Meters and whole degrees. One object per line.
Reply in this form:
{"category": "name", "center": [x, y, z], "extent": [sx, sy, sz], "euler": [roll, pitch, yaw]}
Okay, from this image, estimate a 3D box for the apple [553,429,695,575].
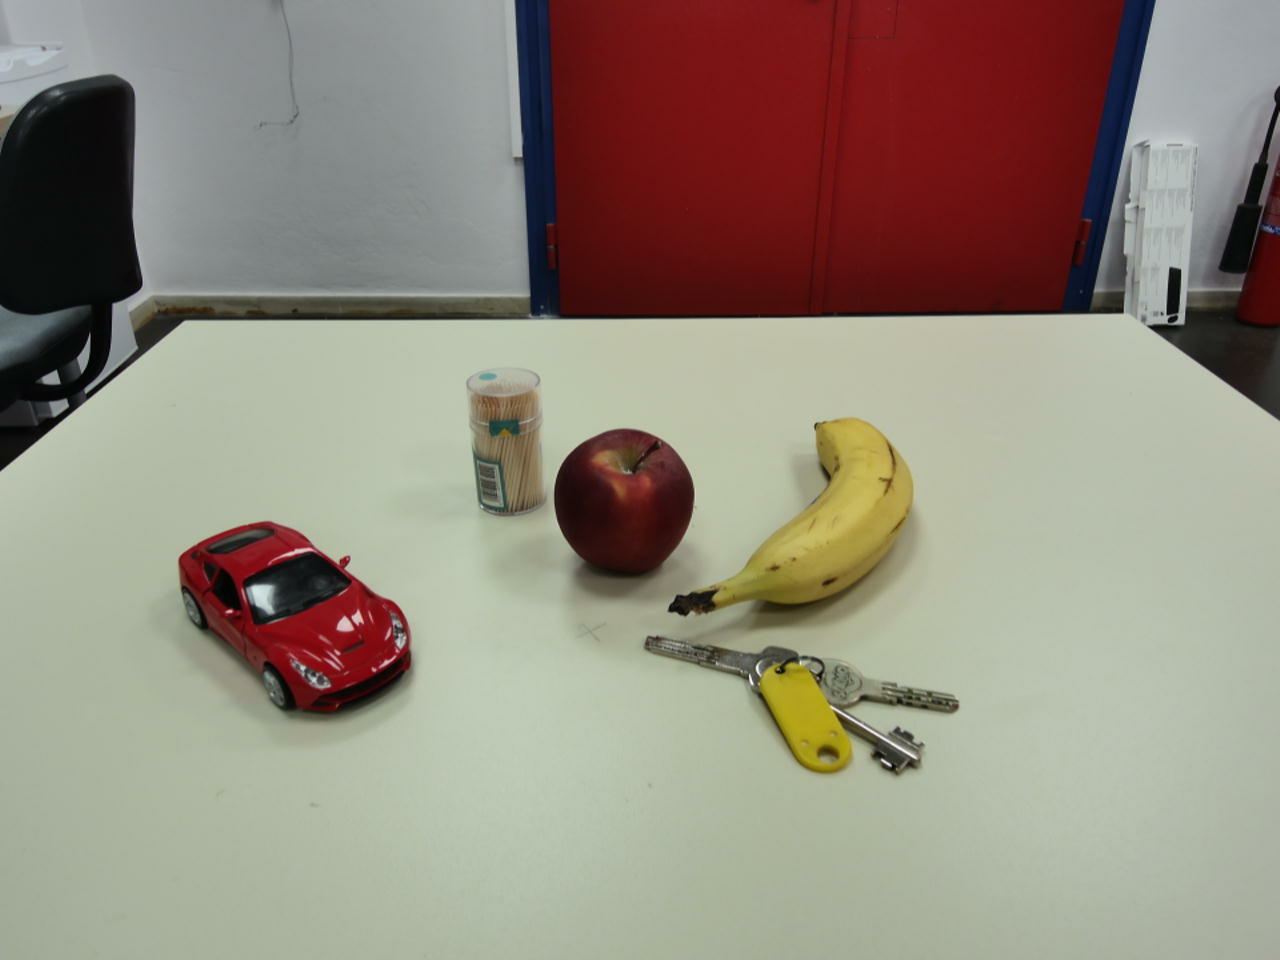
{"category": "apple", "center": [-0.008, 0.011, 0.492], "extent": [0.070, 0.072, 0.070], "euler": [1, 26, 0]}
